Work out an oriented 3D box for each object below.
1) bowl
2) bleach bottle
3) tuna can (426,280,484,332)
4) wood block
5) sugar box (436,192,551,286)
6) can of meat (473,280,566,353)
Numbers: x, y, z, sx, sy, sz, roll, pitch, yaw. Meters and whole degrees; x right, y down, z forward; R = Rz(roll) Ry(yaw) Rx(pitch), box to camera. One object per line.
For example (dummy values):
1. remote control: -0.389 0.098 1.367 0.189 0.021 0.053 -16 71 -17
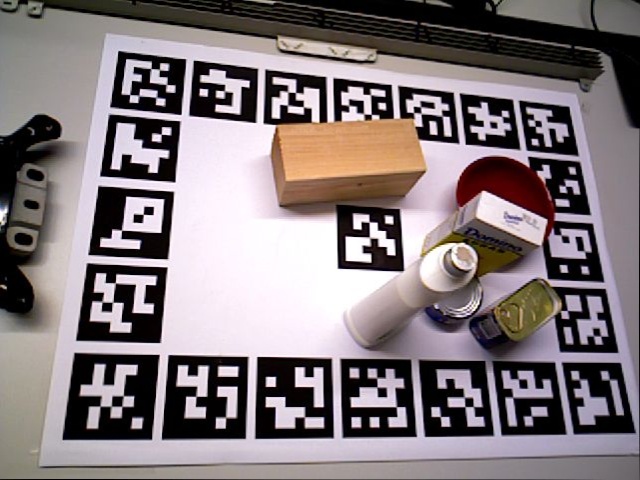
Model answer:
1. bowl: 0.284 -0.045 0.821 0.160 0.056 0.160 3 69 -7
2. bleach bottle: 0.112 0.061 0.637 0.101 0.255 0.068 -22 74 -20
3. tuna can: 0.185 0.085 0.760 0.085 0.034 0.085 3 72 -10
4. wood block: 0.035 -0.110 0.775 0.204 0.091 0.090 -5 75 -15
5. sugar box: 0.222 0.003 0.720 0.092 0.179 0.045 23 67 0
6. can of meat: 0.272 0.108 0.750 0.100 0.085 0.057 -26 74 -22
